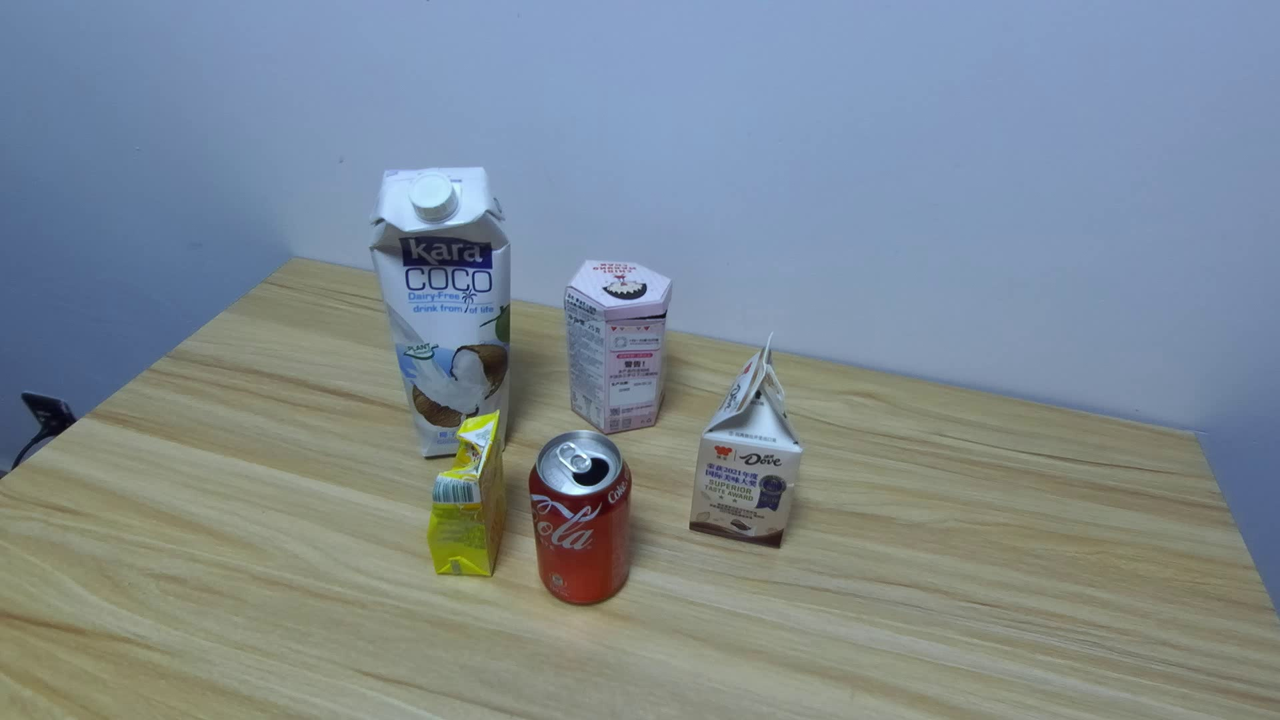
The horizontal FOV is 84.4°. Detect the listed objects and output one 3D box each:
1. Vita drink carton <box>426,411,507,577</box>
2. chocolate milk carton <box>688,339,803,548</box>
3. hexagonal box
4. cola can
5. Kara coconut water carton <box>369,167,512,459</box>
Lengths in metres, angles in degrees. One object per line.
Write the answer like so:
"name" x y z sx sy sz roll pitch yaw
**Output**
"Vita drink carton" -0.124 0.094 0.503 0.046 0.110 0.071 4 38 0
"chocolate milk carton" 0.085 0.056 0.519 0.073 0.155 0.084 12 40 12
"hexagonal box" -0.017 -0.012 0.612 0.092 0.135 0.084 -8 40 -11
"cola can" -0.040 0.107 0.483 0.068 0.120 0.067 0 41 0
"Kara coconut water carton" -0.145 -0.035 0.550 0.100 0.244 0.071 -6 41 -9
